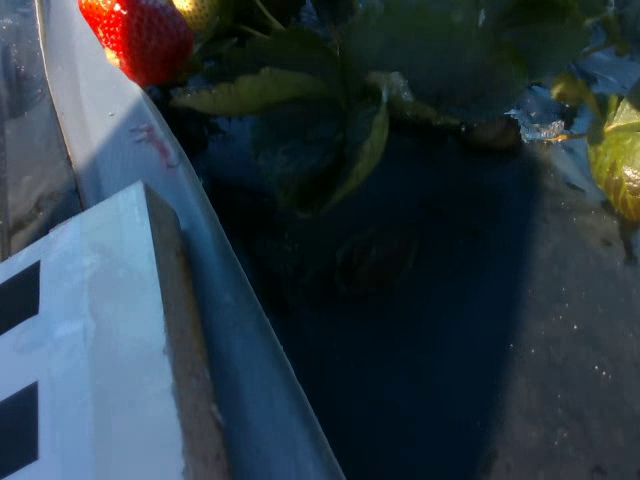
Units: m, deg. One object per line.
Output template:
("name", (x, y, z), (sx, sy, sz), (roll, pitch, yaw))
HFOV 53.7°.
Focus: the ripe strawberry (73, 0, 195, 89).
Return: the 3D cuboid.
("ripe strawberry", (-0.068, -0.075, 0.226), (0.045, 0.038, 0.036), (34, 22, -40))
